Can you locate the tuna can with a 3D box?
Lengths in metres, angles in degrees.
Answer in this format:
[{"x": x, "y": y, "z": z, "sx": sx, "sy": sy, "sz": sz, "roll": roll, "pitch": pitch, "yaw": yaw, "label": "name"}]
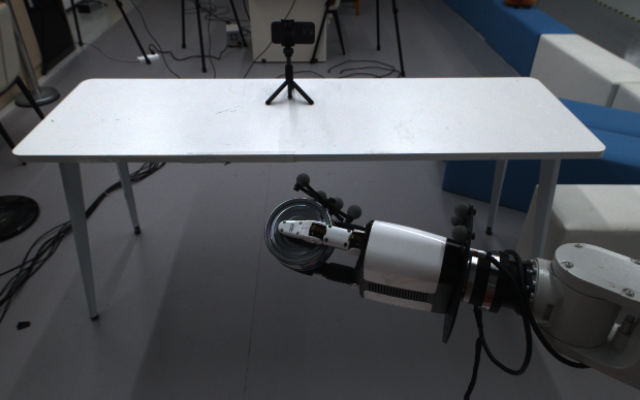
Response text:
[{"x": -0.019, "y": 0.046, "z": 0.587, "sx": 0.085, "sy": 0.034, "sz": 0.085, "roll": -4, "pitch": 69, "yaw": 10, "label": "tuna can"}]
